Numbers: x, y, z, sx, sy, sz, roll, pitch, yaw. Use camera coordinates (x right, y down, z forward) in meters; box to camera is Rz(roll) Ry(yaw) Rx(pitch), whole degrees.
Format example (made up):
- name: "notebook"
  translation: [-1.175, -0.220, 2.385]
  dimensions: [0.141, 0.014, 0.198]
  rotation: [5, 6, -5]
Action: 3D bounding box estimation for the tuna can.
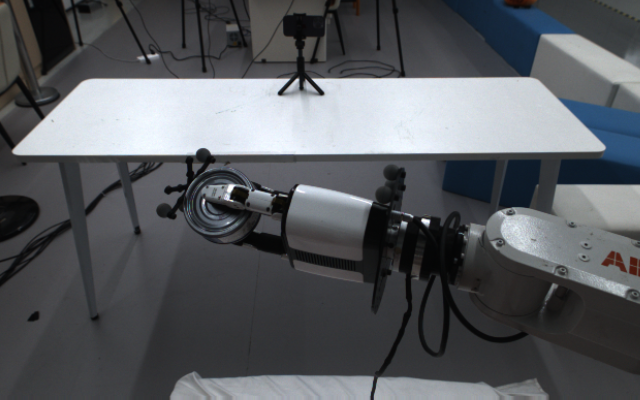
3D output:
- name: "tuna can"
  translation: [-0.108, 0.010, 0.555]
  dimensions: [0.085, 0.034, 0.085]
  rotation: [-2, 72, 6]
